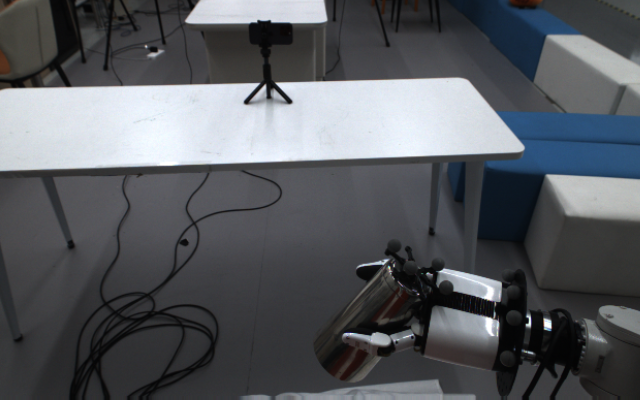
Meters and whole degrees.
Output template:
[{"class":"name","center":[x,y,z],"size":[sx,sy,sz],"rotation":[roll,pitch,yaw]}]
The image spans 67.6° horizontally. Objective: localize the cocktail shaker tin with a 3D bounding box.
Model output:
[{"class":"cocktail shaker tin","center":[0.072,0.151,0.647],"size":[0.093,0.170,0.093],"rotation":[26,32,-17]}]
